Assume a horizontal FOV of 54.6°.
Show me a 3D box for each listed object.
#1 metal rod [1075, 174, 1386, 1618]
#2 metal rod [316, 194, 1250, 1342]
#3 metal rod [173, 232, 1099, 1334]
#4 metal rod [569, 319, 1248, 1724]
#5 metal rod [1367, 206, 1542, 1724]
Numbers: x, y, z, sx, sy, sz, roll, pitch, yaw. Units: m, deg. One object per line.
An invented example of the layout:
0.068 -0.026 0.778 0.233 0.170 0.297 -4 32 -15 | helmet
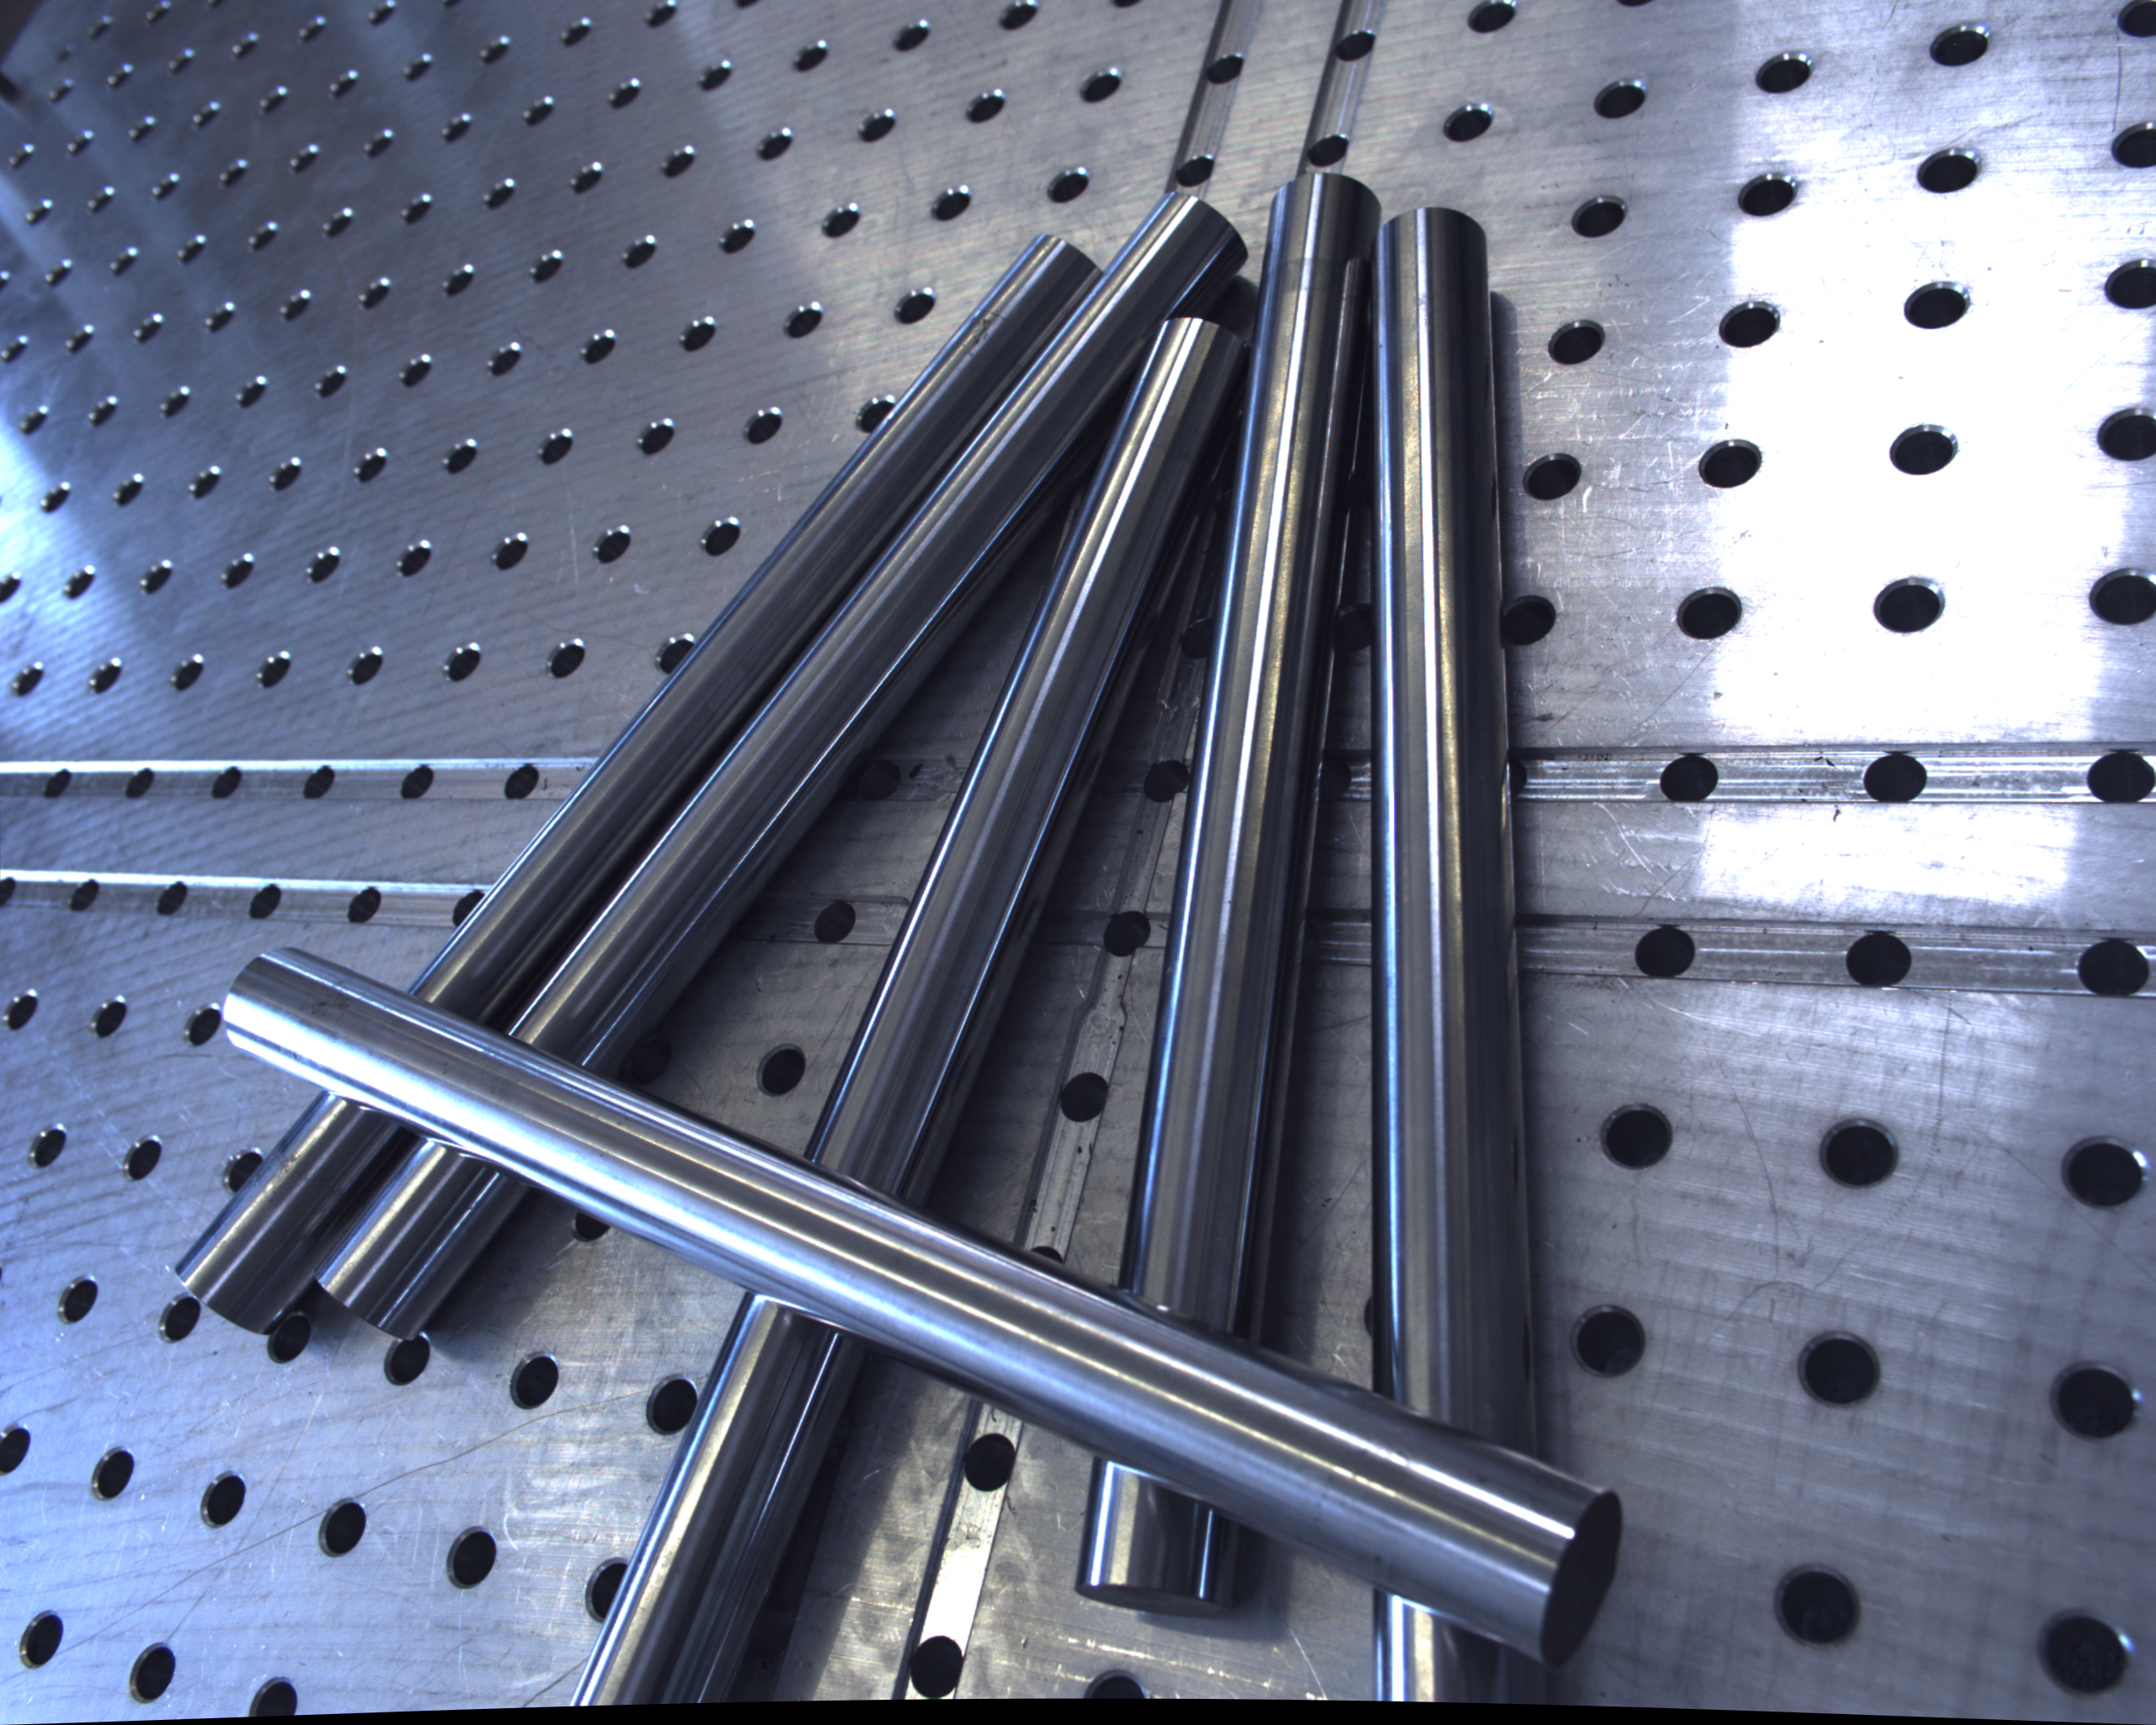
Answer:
0.034 -0.014 0.400 0.025 0.025 0.300 -5 59 26 | metal rod
-0.059 -0.027 0.457 0.025 0.025 0.300 29 77 37 | metal rod
-0.092 -0.023 0.471 0.025 0.025 0.300 31 79 38 | metal rod
-0.023 0.018 0.411 0.025 0.025 0.300 8 66 32 | metal rod
0.065 -0.002 0.376 0.025 0.025 0.300 -9 57 23 | metal rod
